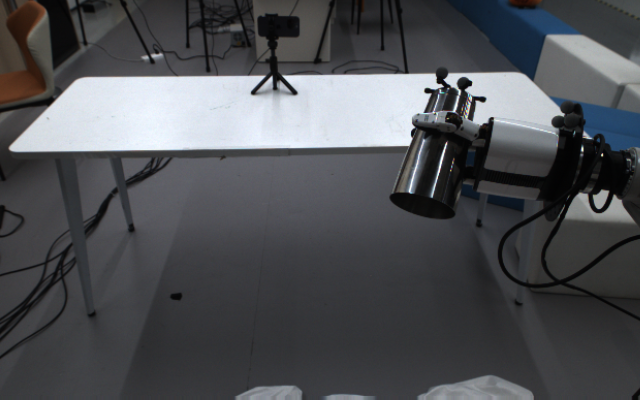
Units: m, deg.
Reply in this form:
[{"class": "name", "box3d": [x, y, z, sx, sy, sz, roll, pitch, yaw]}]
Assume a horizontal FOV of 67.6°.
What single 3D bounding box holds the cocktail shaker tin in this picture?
[{"class": "cocktail shaker tin", "box3d": [0.167, -0.069, 0.680, 0.093, 0.093, 0.170, 15, 75, 18]}]
